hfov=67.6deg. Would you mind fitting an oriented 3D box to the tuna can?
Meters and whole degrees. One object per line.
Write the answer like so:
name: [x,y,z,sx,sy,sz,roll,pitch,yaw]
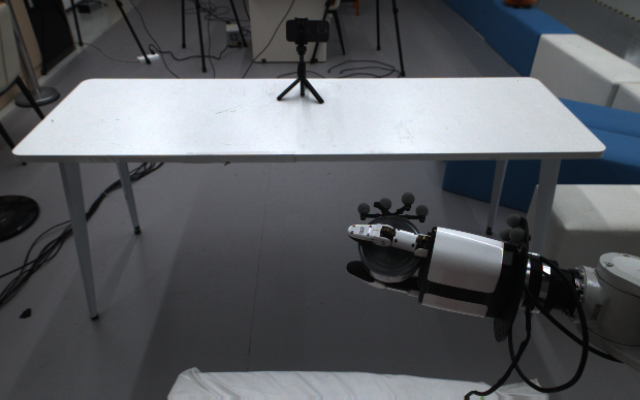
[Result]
tuna can: [0.096,0.065,0.645,0.085,0.034,0.085,-4,61,7]
